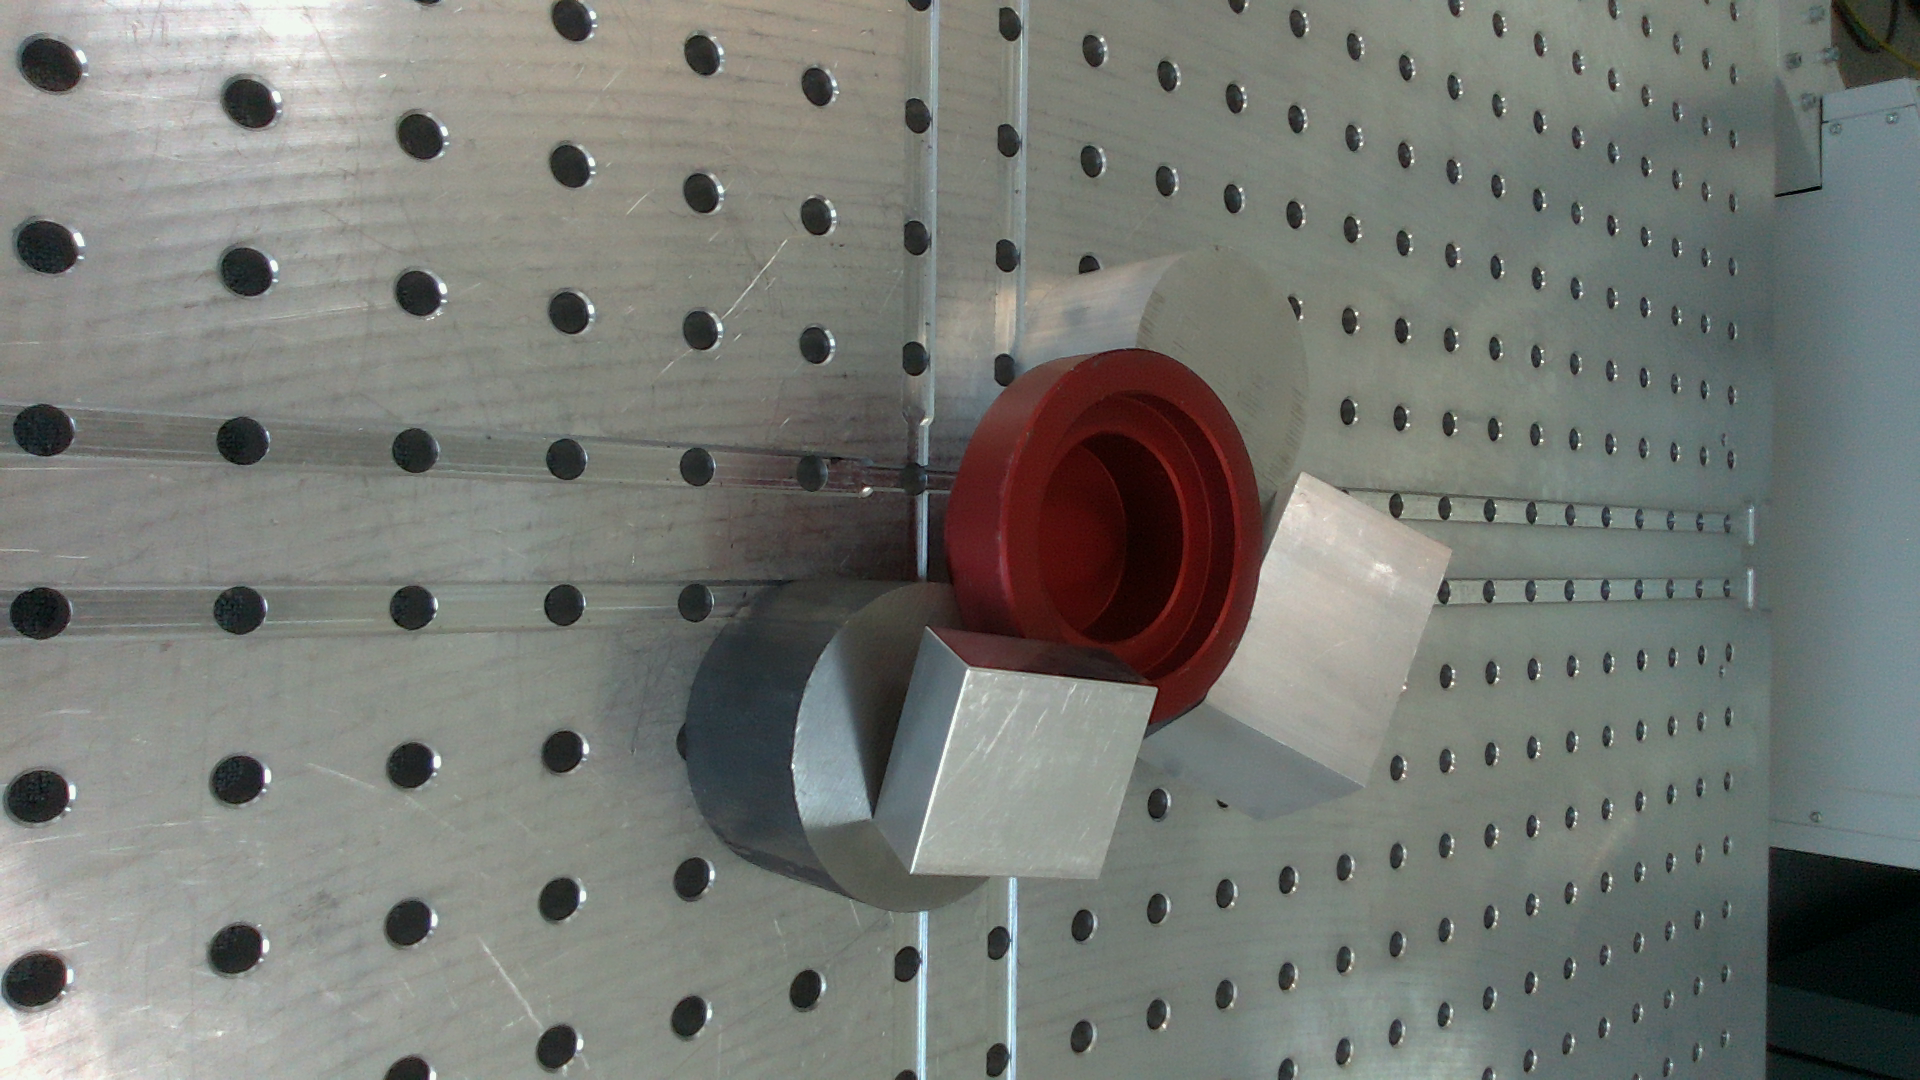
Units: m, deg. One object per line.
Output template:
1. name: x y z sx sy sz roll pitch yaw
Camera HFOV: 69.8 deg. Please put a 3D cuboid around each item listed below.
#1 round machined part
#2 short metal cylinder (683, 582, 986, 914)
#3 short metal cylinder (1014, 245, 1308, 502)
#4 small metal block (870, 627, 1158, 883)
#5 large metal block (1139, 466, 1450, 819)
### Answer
1. round machined part: 0.034 -0.001 0.371 0.098 0.042 0.098 0 90 -40
2. short metal cylinder: -0.023 0.051 0.355 0.080 0.050 0.080 0 90 -40
3. short metal cylinder: 0.063 -0.047 0.428 0.080 0.050 0.080 0 90 -40
4. small metal block: 0.012 0.051 0.321 0.050 0.025 0.050 9 104 -28
5. large metal block: 0.099 0.035 0.430 0.050 0.080 0.080 28 69 0
